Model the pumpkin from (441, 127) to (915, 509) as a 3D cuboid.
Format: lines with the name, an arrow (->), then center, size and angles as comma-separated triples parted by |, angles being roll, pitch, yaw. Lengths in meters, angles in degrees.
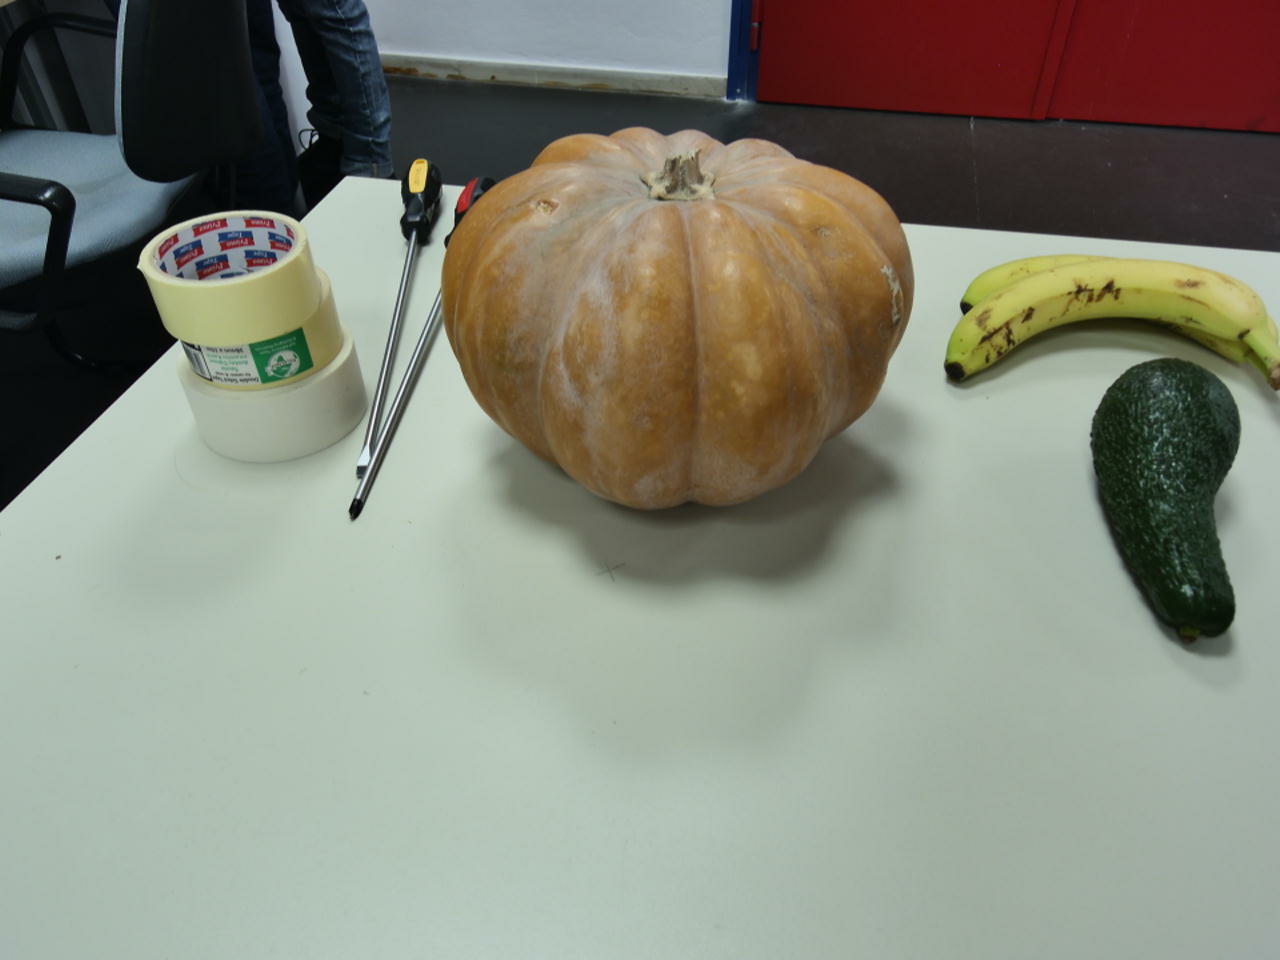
pumpkin -> 0.019, -0.101, 0.584 | 0.277, 0.181, 0.277 | 0, 39, 0
